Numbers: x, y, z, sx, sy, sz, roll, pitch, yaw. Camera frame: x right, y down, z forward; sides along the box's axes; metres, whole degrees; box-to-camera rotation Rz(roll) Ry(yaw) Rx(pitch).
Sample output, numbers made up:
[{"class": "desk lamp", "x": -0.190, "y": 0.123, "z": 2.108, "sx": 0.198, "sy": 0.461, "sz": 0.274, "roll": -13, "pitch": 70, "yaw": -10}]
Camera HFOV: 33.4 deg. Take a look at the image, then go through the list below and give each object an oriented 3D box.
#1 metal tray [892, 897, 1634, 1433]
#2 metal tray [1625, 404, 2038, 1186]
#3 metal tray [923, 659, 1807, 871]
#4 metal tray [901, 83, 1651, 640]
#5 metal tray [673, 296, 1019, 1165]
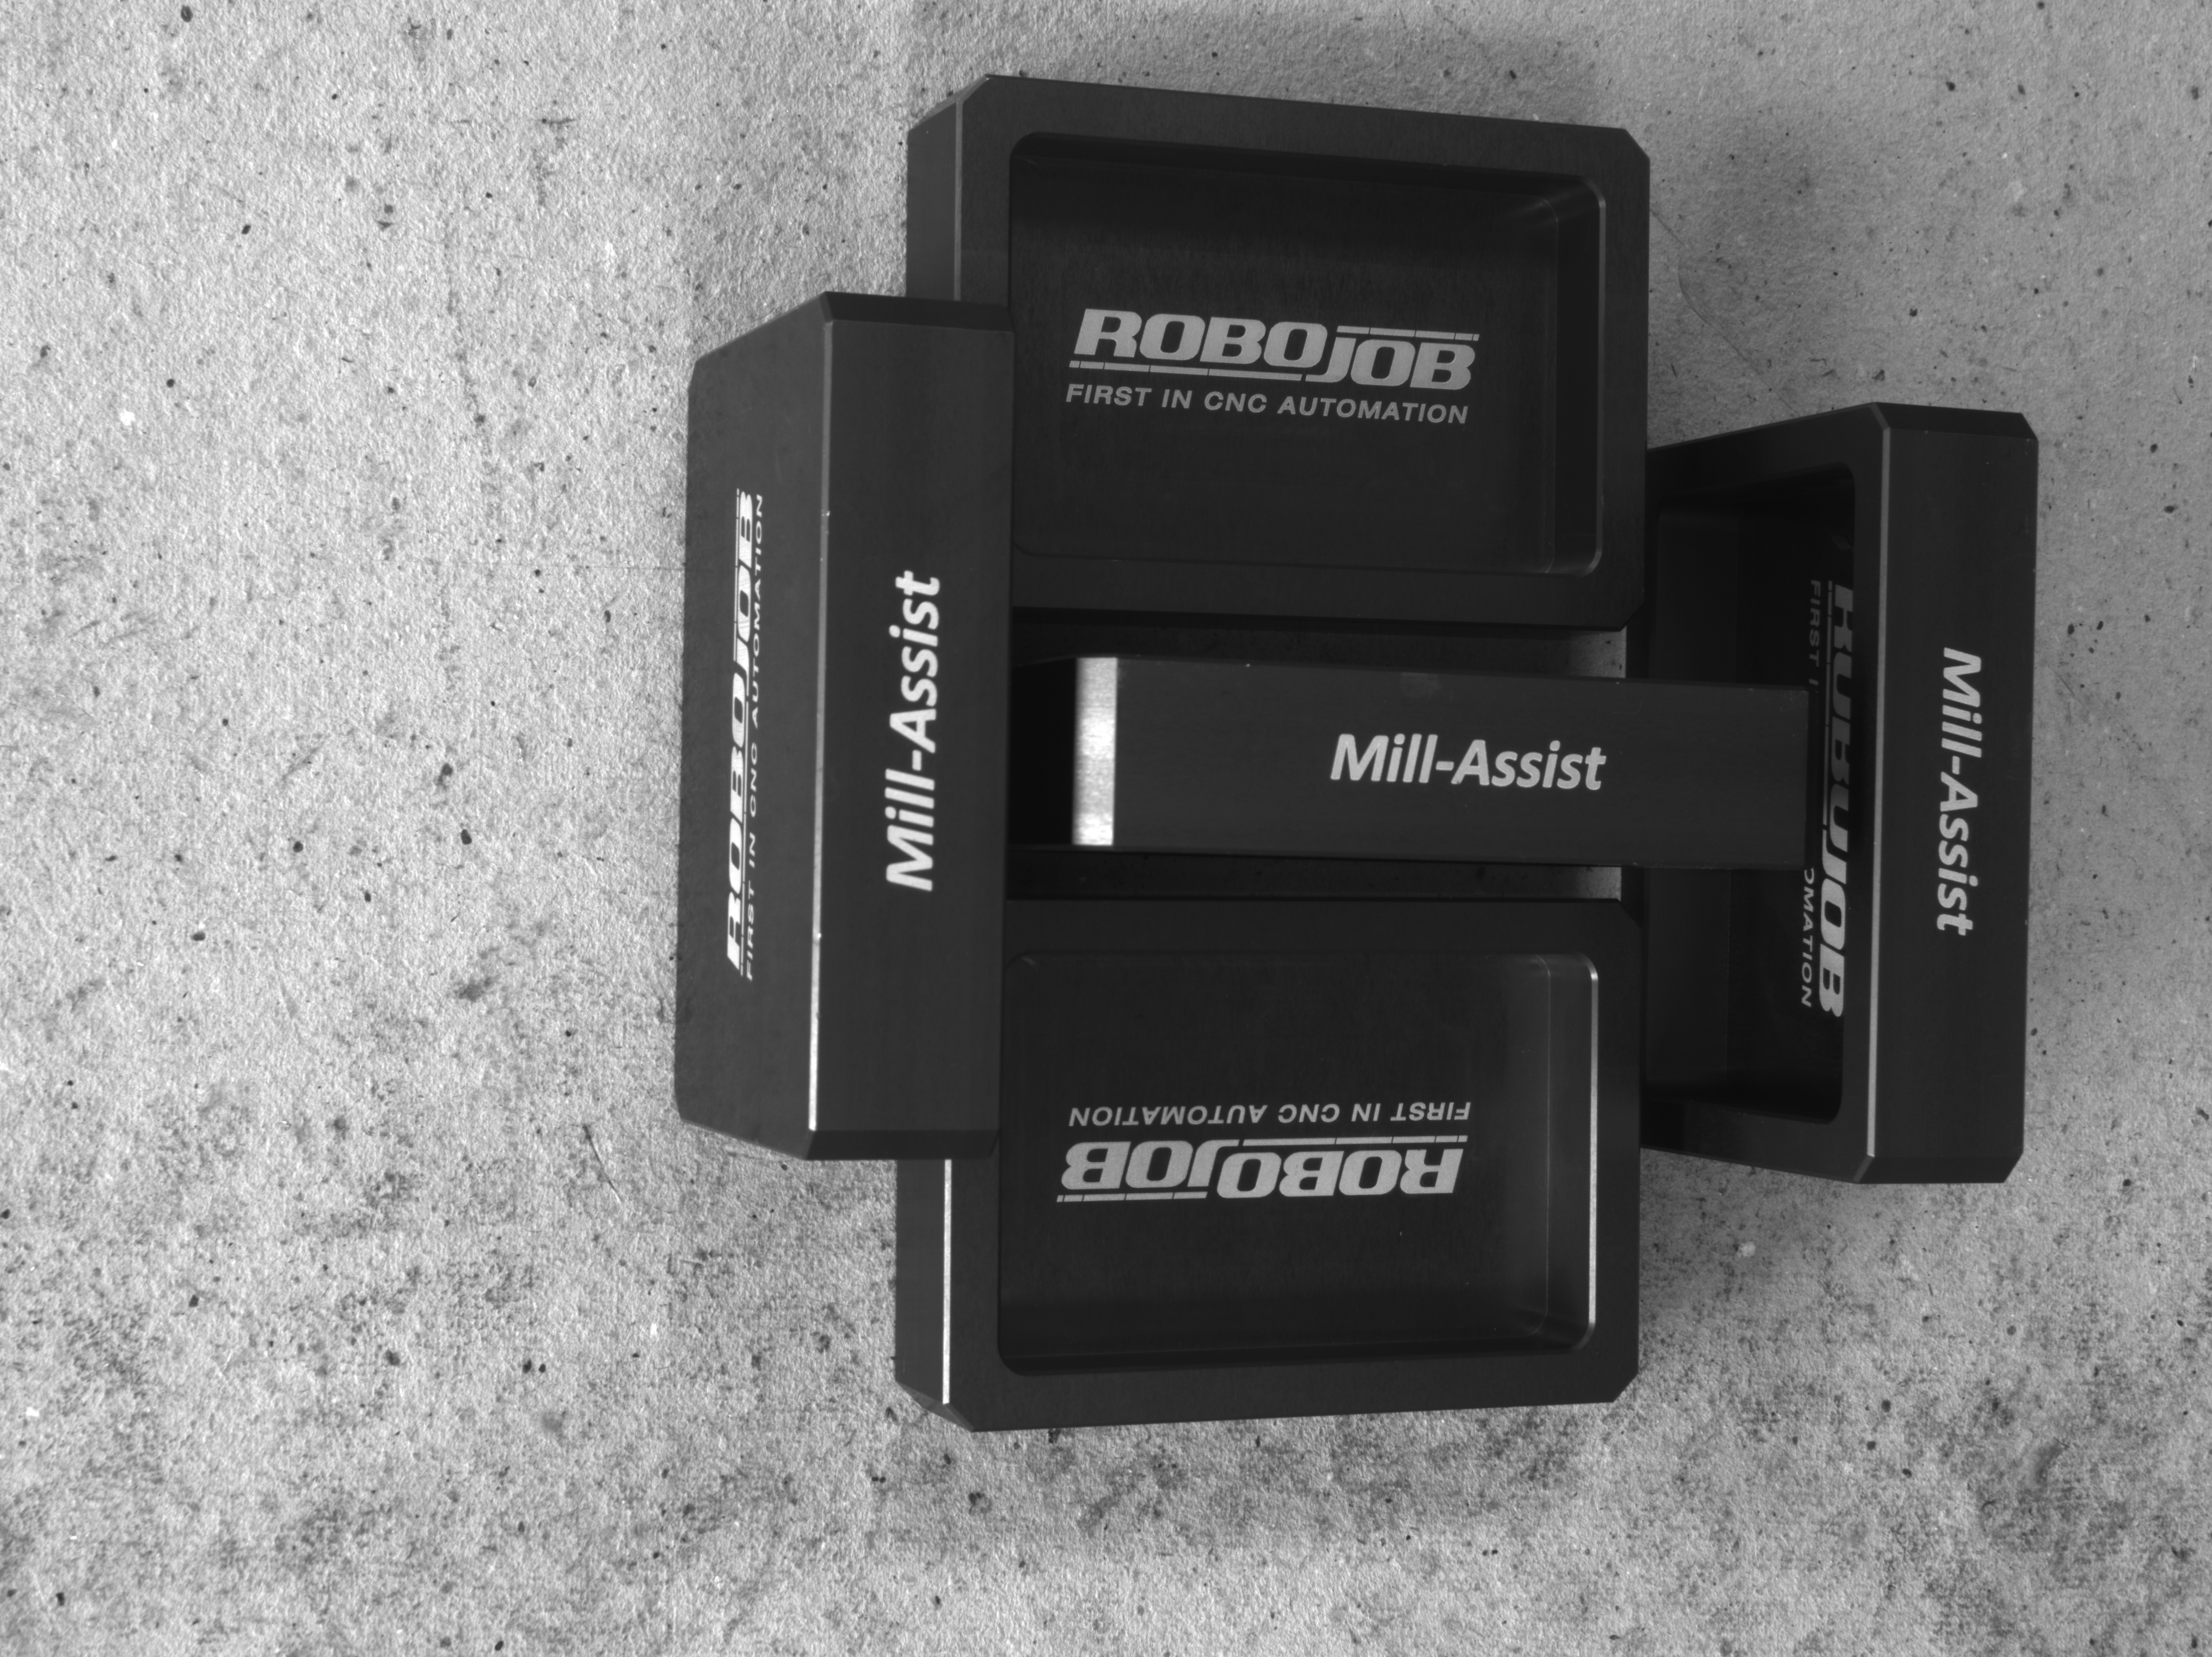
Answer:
[{"class": "metal tray", "x": 0.029, "y": 0.058, "z": 0.653, "sx": 0.130, "sy": 0.030, "sz": 0.090, "roll": 1, "pitch": 88, "yaw": -20}, {"class": "metal tray", "x": 0.126, "y": -0.005, "z": 0.655, "sx": 0.030, "sy": 0.090, "sz": 0.130, "roll": 1, "pitch": 89, "yaw": -20}, {"class": "metal tray", "x": 0.041, "y": -0.010, "z": 0.625, "sx": 0.130, "sy": 0.090, "sz": 0.030, "roll": 1, "pitch": 91, "yaw": -20}, {"class": "metal tray", "x": 0.031, "y": -0.080, "z": 0.652, "sx": 0.130, "sy": 0.030, "sz": 0.090, "roll": 1, "pitch": 93, "yaw": -20}, {"class": "metal tray", "x": -0.044, "y": -0.015, "z": 0.594, "sx": 0.030, "sy": 0.090, "sz": 0.130, "roll": 1, "pitch": 90, "yaw": -20}]
